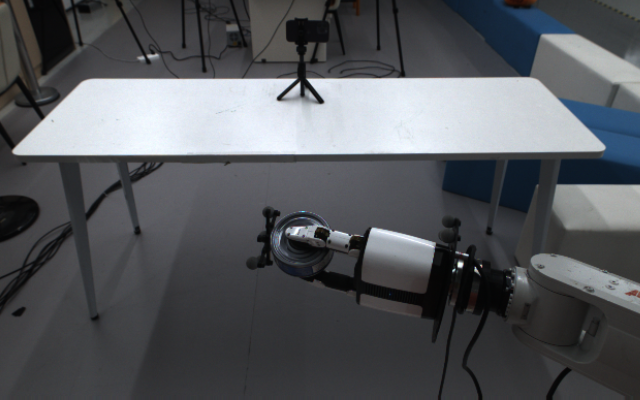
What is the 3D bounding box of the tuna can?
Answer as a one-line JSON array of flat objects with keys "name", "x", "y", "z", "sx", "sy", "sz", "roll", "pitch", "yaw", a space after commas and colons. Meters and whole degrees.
[{"name": "tuna can", "x": -0.021, "y": 0.062, "z": 0.649, "sx": 0.085, "sy": 0.034, "sz": 0.085, "roll": -2, "pitch": 58, "yaw": 3}]
